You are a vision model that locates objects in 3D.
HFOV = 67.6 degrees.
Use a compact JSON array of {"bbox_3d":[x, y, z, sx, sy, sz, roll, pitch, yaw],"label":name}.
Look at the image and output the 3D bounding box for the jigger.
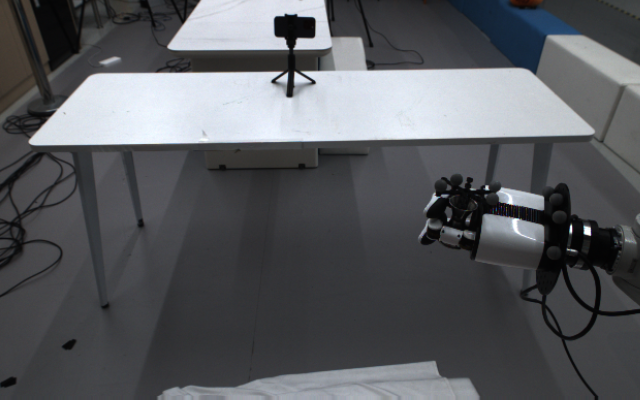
[{"bbox_3d":[0.204,0.031,0.709,0.043,0.071,0.043,4,31,-2],"label":"jigger"}]
